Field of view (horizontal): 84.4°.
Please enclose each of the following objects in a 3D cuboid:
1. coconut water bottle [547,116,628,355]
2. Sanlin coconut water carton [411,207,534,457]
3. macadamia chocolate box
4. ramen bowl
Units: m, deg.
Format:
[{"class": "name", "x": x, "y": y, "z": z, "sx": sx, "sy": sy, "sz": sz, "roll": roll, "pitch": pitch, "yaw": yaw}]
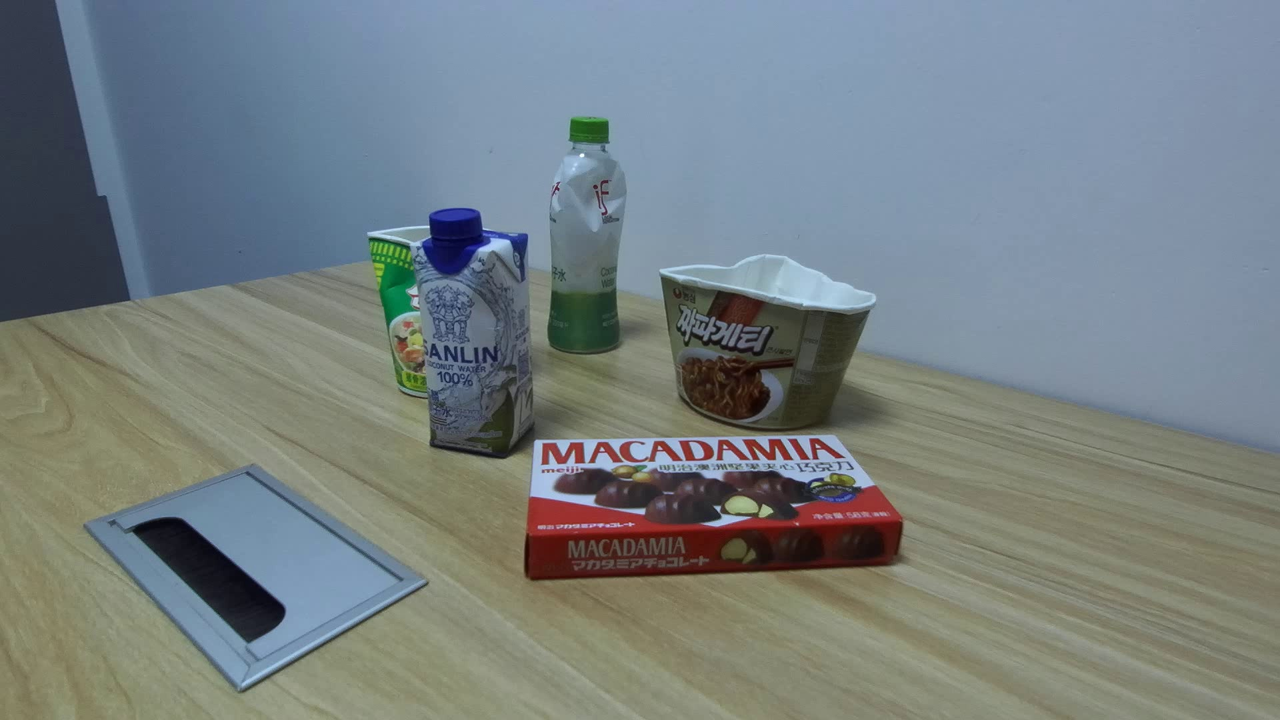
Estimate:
[{"class": "coconut water bottle", "x": -0.044, "y": -0.102, "z": 0.587, "sx": 0.067, "sy": 0.187, "sz": 0.067, "roll": 3, "pitch": 19, "yaw": -1}, {"class": "Sanlin coconut water carton", "x": -0.098, "y": -0.018, "z": 0.426, "sx": 0.060, "sy": 0.144, "sz": 0.061, "roll": 6, "pitch": 20, "yaw": 14}, {"class": "macadamia chocolate box", "x": 0.033, "y": 0.073, "z": 0.370, "sx": 0.178, "sy": 0.027, "sz": 0.095, "roll": 0, "pitch": 19, "yaw": -5}, {"class": "ramen bowl", "x": 0.092, "y": -0.013, "z": 0.495, "sx": 0.114, "sy": 0.097, "sz": 0.133, "roll": -13, "pitch": 25, "yaw": -35}]
